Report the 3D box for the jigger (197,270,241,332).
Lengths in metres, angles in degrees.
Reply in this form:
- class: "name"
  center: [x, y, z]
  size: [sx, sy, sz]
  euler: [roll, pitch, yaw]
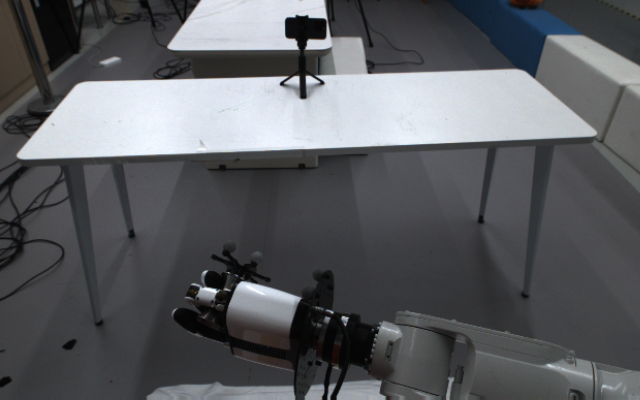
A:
- class: "jigger"
  center: [-0.126, 0.132, 0.636]
  size: [0.043, 0.043, 0.071]
  euler: [15, 58, 18]
